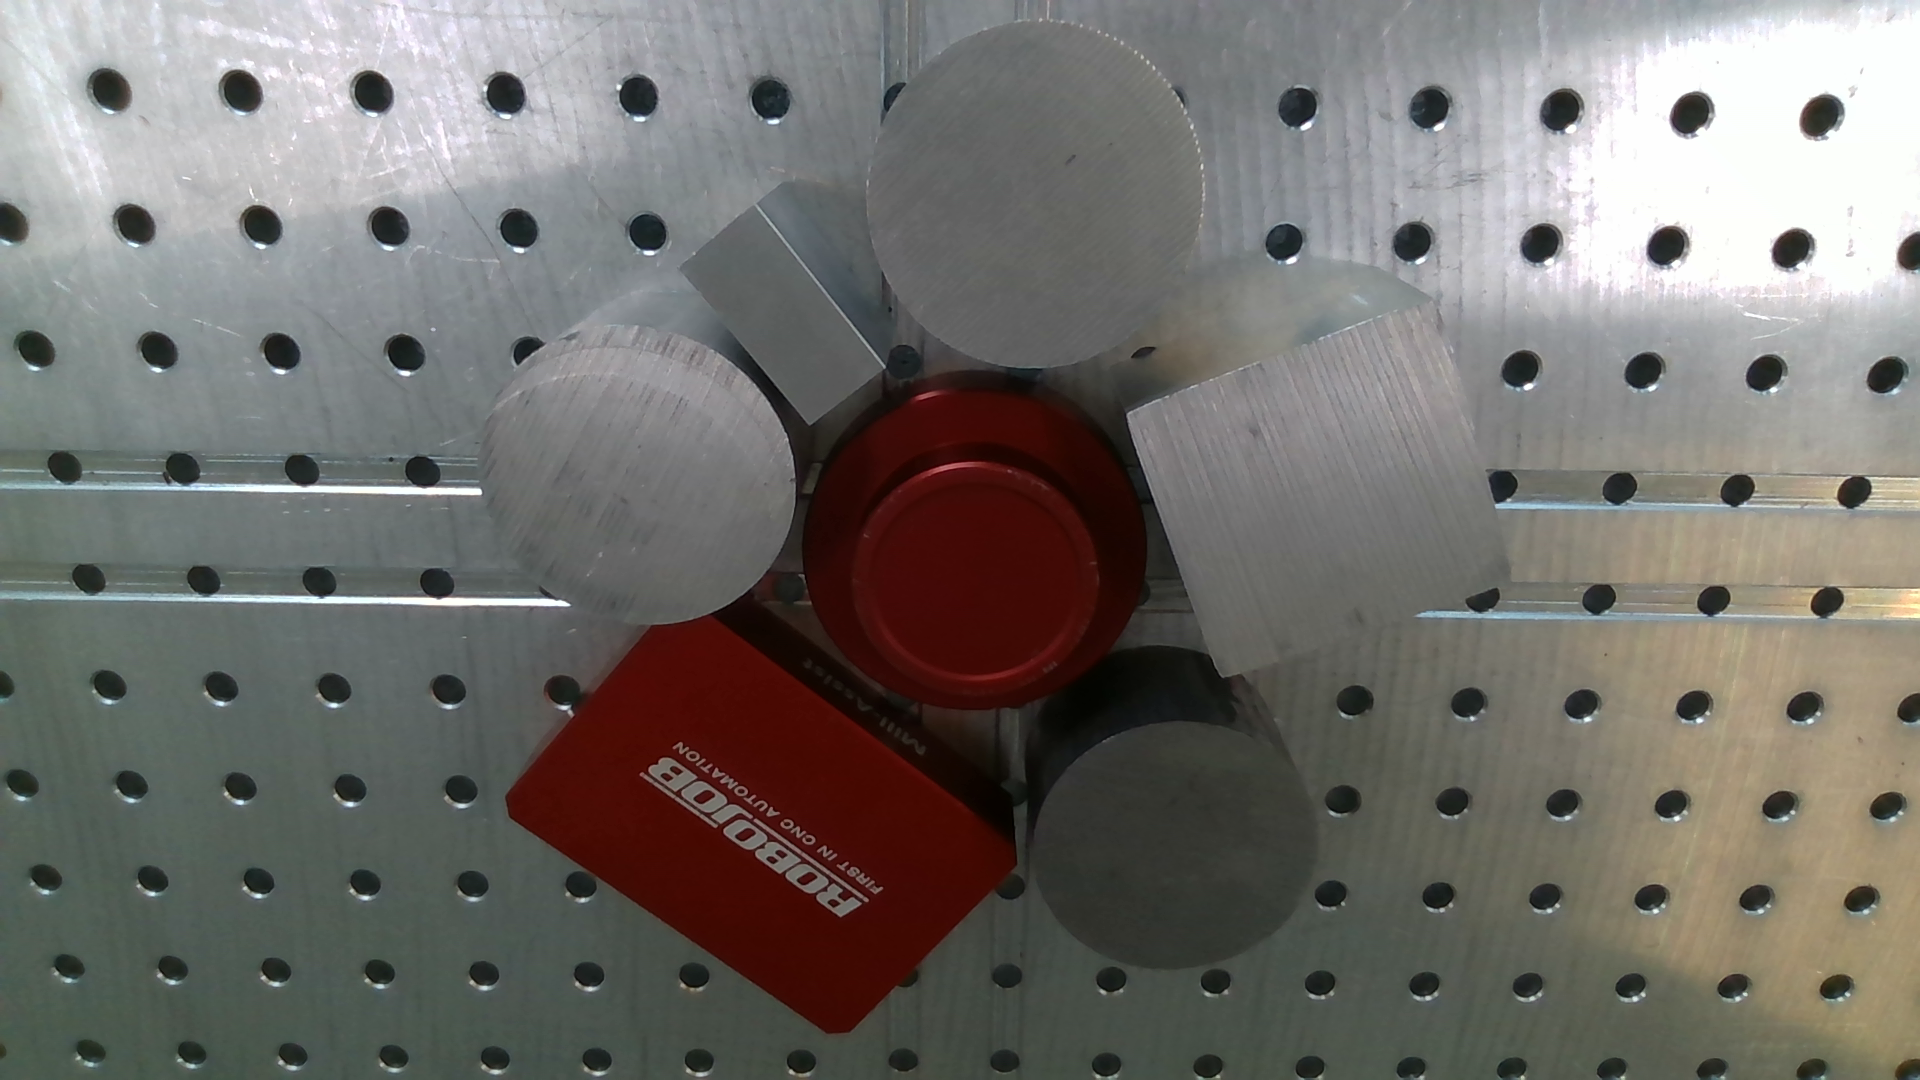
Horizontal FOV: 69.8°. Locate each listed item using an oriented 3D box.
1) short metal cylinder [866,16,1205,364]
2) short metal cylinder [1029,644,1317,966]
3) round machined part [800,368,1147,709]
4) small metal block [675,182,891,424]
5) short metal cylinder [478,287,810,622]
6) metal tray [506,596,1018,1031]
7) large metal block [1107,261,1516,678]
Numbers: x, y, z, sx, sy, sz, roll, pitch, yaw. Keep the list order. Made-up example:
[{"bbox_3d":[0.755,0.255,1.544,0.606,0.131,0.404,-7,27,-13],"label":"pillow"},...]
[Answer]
[{"bbox_3d":[0.018,-0.090,0.349,0.080,0.050,0.080,0,110,0],"label":"short metal cylinder"},{"bbox_3d":[0.060,0.078,0.411,0.080,0.050,0.080,0,110,0],"label":"short metal cylinder"},{"bbox_3d":[0.004,0.004,0.388,0.098,0.042,0.098,0,110,0],"label":"round machined part"},{"bbox_3d":[-0.043,-0.063,0.359,0.025,0.050,0.050,-36,106,12],"label":"small metal block"},{"bbox_3d":[-0.082,-0.024,0.373,0.080,0.050,0.080,0,110,0],"label":"short metal cylinder"},{"bbox_3d":[-0.058,0.082,0.422,0.130,0.030,0.090,38,105,-13],"label":"metal tray"},{"bbox_3d":[0.094,-0.020,0.376,0.080,0.050,0.080,-20,109,7],"label":"large metal block"}]
